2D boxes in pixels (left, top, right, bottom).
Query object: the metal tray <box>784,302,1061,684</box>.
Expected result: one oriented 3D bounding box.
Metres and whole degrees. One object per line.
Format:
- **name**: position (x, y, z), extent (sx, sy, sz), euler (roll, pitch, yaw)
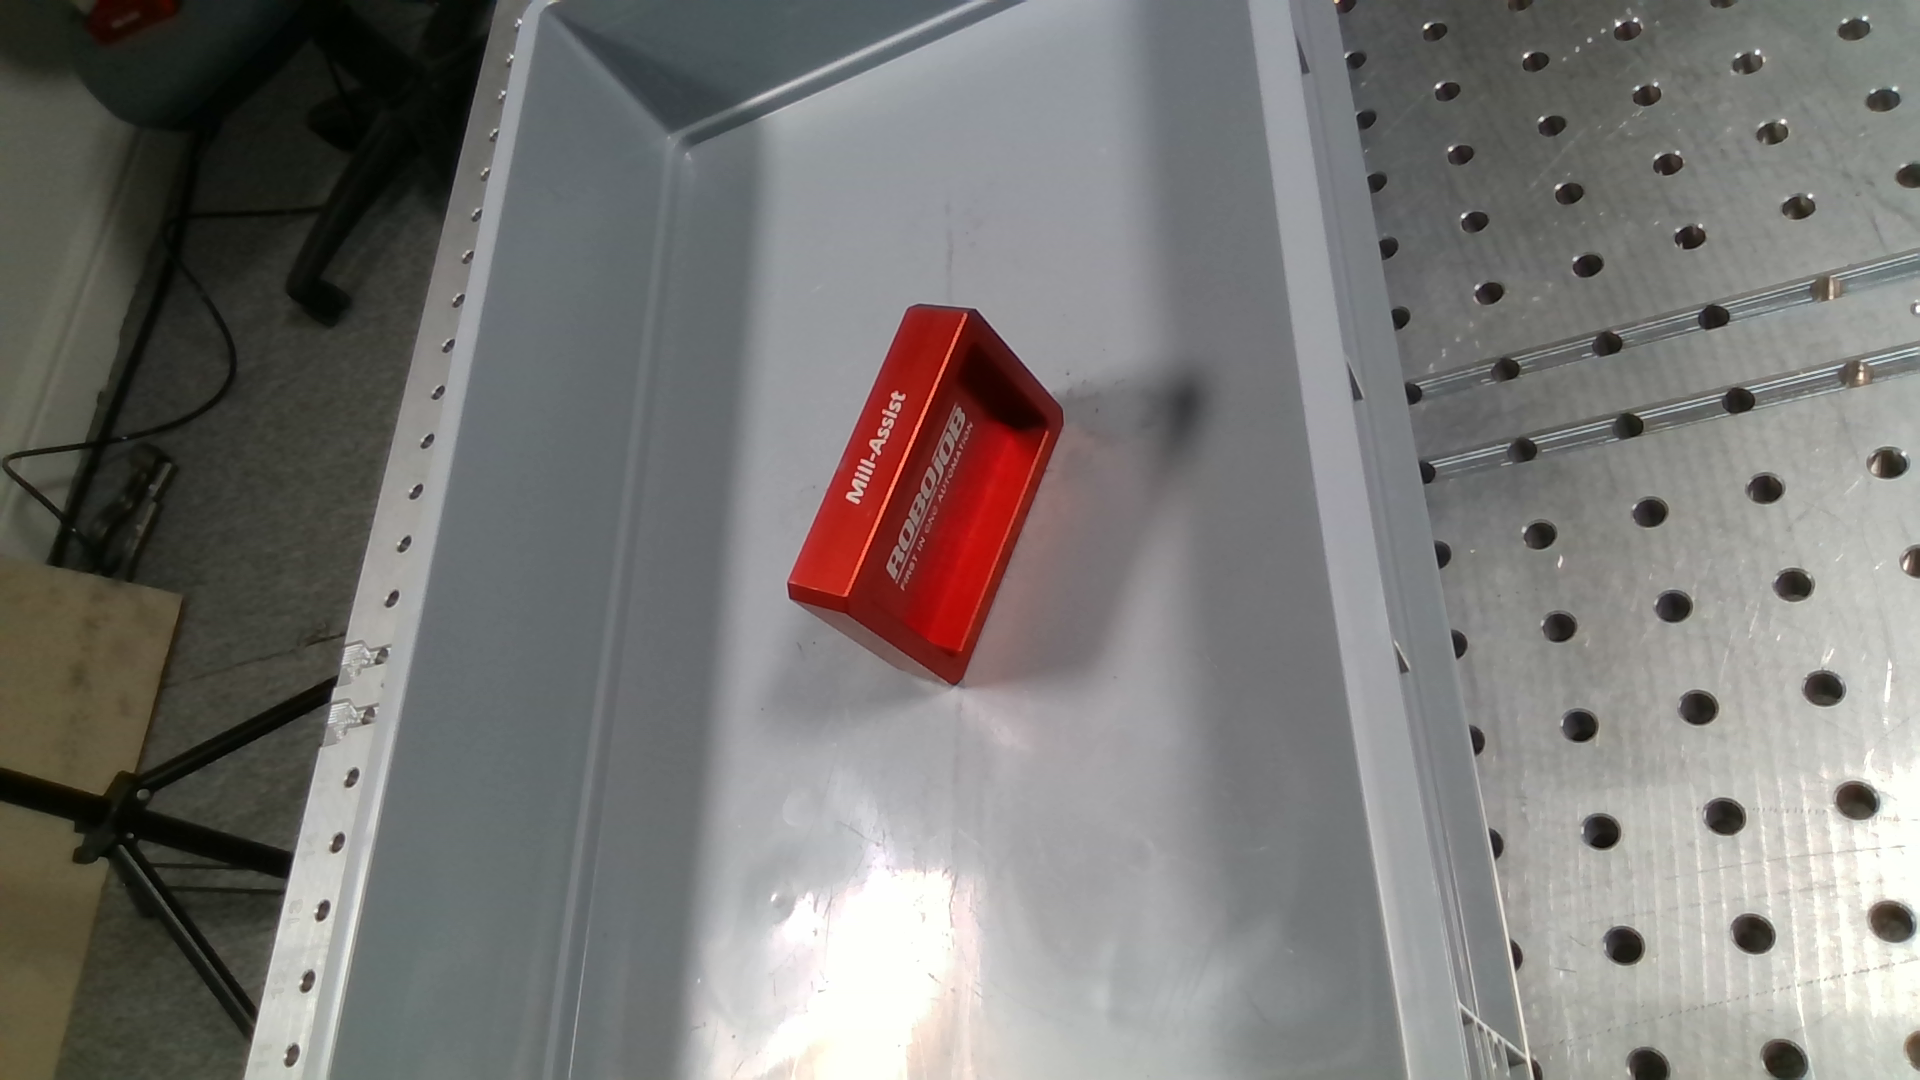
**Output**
- **metal tray**: position (-0.011, -0.018, 0.556), extent (0.030, 0.090, 0.130), euler (12, 73, 36)
